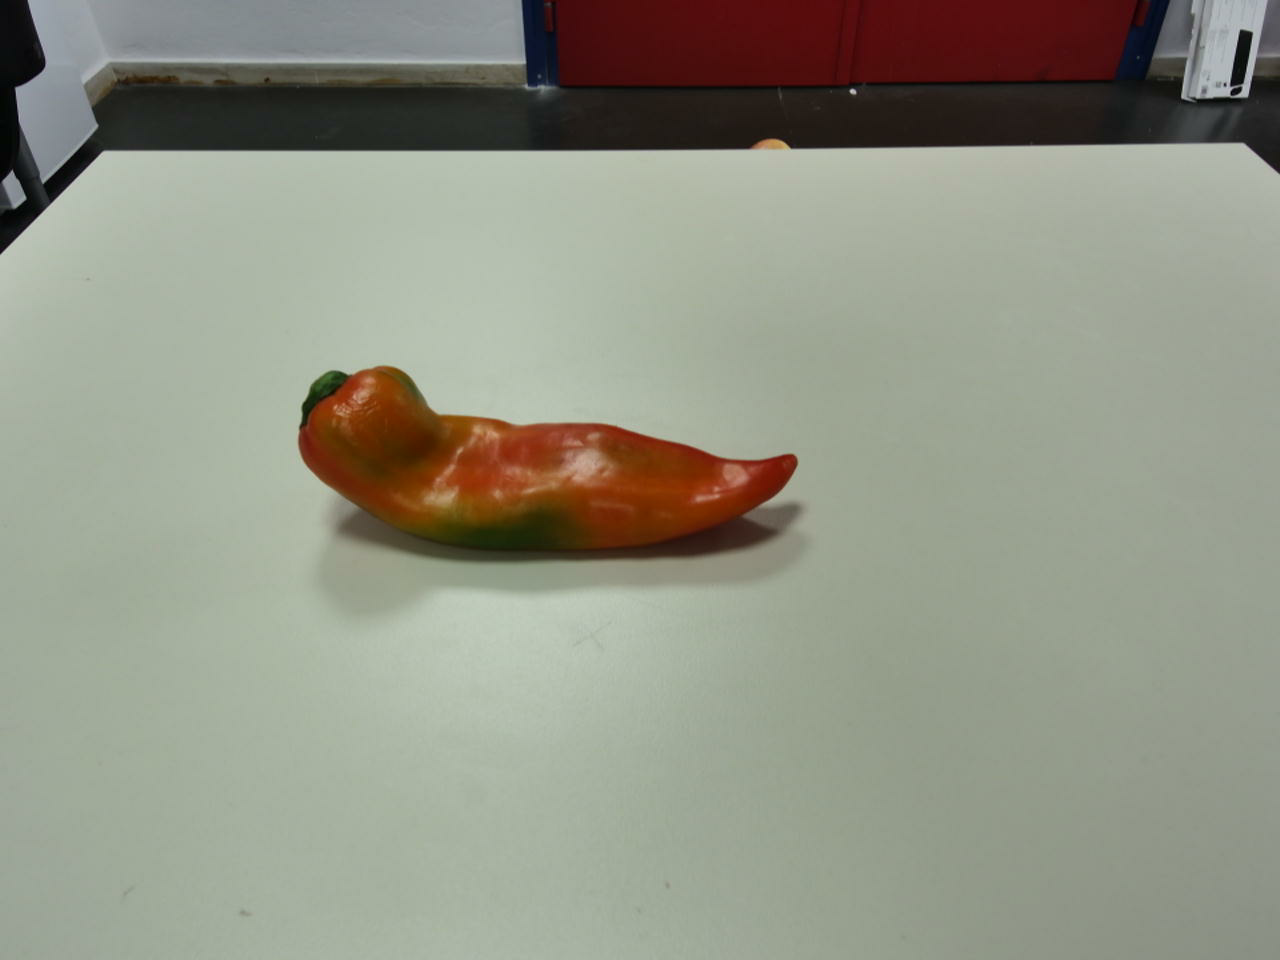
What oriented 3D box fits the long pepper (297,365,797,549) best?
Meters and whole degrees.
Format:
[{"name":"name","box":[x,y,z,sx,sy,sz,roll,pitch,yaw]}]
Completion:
[{"name":"long pepper","box":[-0.036,-0.011,0.402,0.199,0.065,0.066,3,39,4]}]
